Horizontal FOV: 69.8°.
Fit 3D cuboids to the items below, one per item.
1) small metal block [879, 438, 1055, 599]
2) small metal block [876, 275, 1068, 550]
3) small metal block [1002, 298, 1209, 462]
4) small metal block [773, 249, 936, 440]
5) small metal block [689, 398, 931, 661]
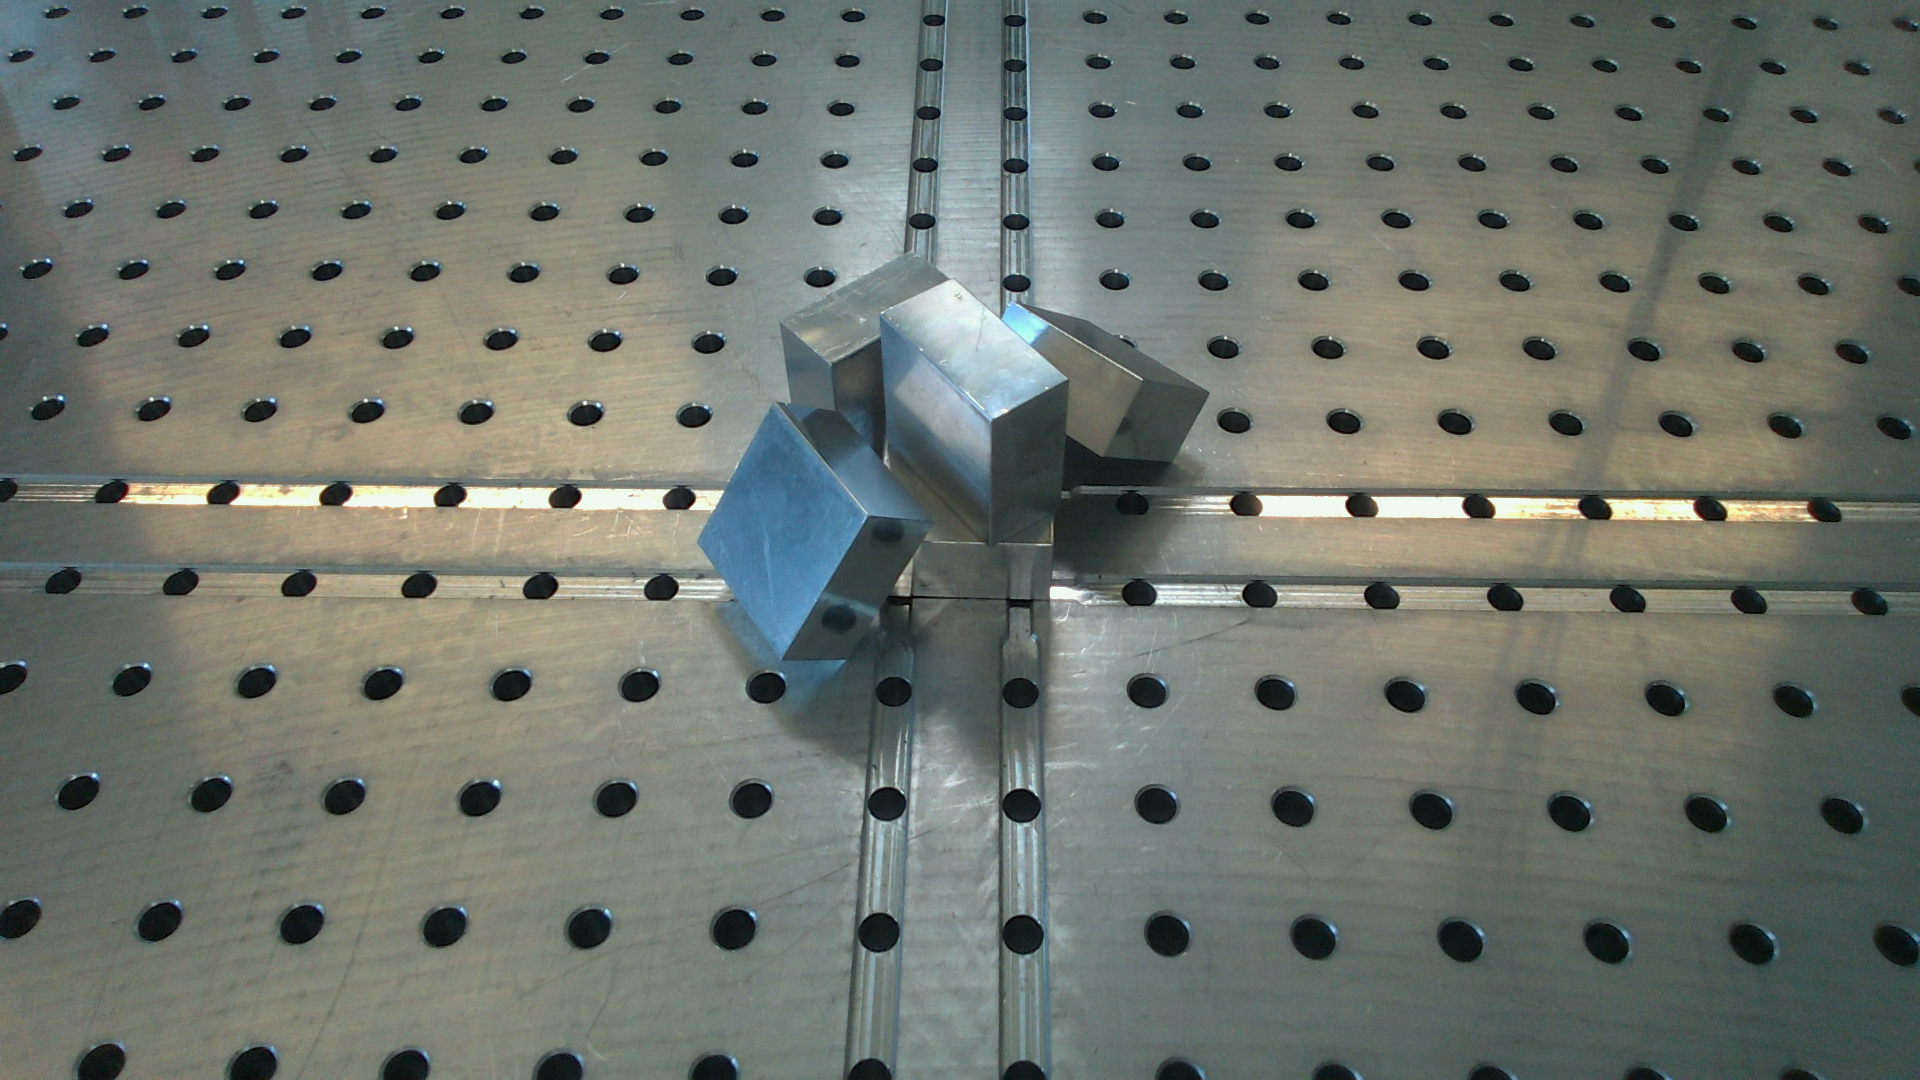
[{"bbox_3d":[0.001,-0.011,0.403,0.050,0.025,0.050,1,50,-1],"label":"small metal block"},{"bbox_3d":[0.002,-0.035,0.374,0.025,0.050,0.050,-29,56,-23],"label":"small metal block"},{"bbox_3d":[0.040,-0.048,0.417,0.050,0.025,0.050,35,18,26],"label":"small metal block"},{"bbox_3d":[-0.027,-0.053,0.423,0.050,0.050,0.025,-34,57,-25],"label":"small metal block"},{"bbox_3d":[-0.042,-0.002,0.376,0.025,0.050,0.050,5,36,-48],"label":"small metal block"}]
